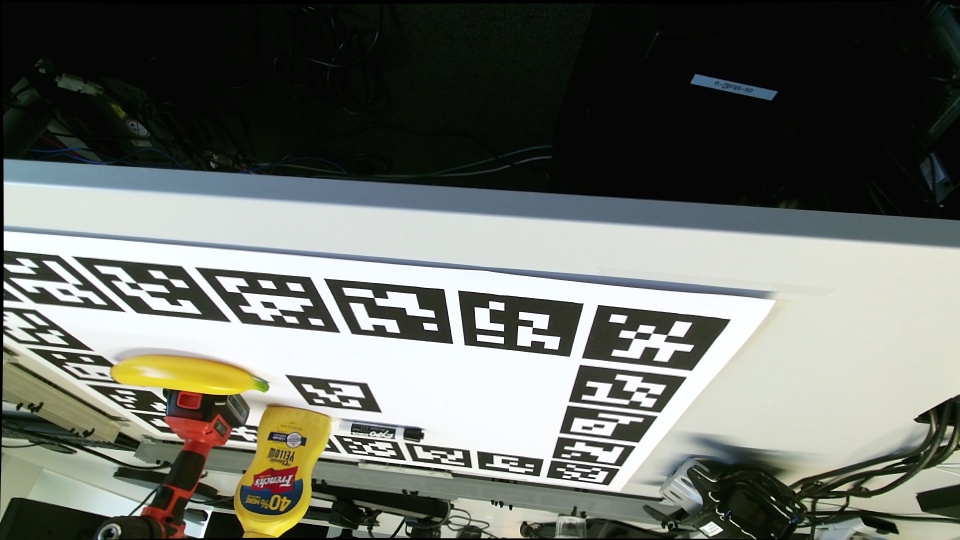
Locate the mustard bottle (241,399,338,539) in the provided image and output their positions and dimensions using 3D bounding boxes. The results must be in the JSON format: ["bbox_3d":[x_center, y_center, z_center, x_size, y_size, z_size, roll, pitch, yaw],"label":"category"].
[{"bbox_3d":[-0.267,0.276,0.730,0.096,0.190,0.058,12,142,-3],"label":"mustard bottle"}]

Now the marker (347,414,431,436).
[{"bbox_3d":[-0.131,0.226,0.779,0.121,0.019,0.020,6,141,3],"label":"marker"}]

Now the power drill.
[{"bbox_3d":[-0.376,0.240,0.678,0.057,0.186,0.185,14,144,-5],"label":"power drill"}]

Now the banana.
[{"bbox_3d":[-0.355,0.112,0.666,0.198,0.038,0.074,8,141,-3],"label":"banana"}]
